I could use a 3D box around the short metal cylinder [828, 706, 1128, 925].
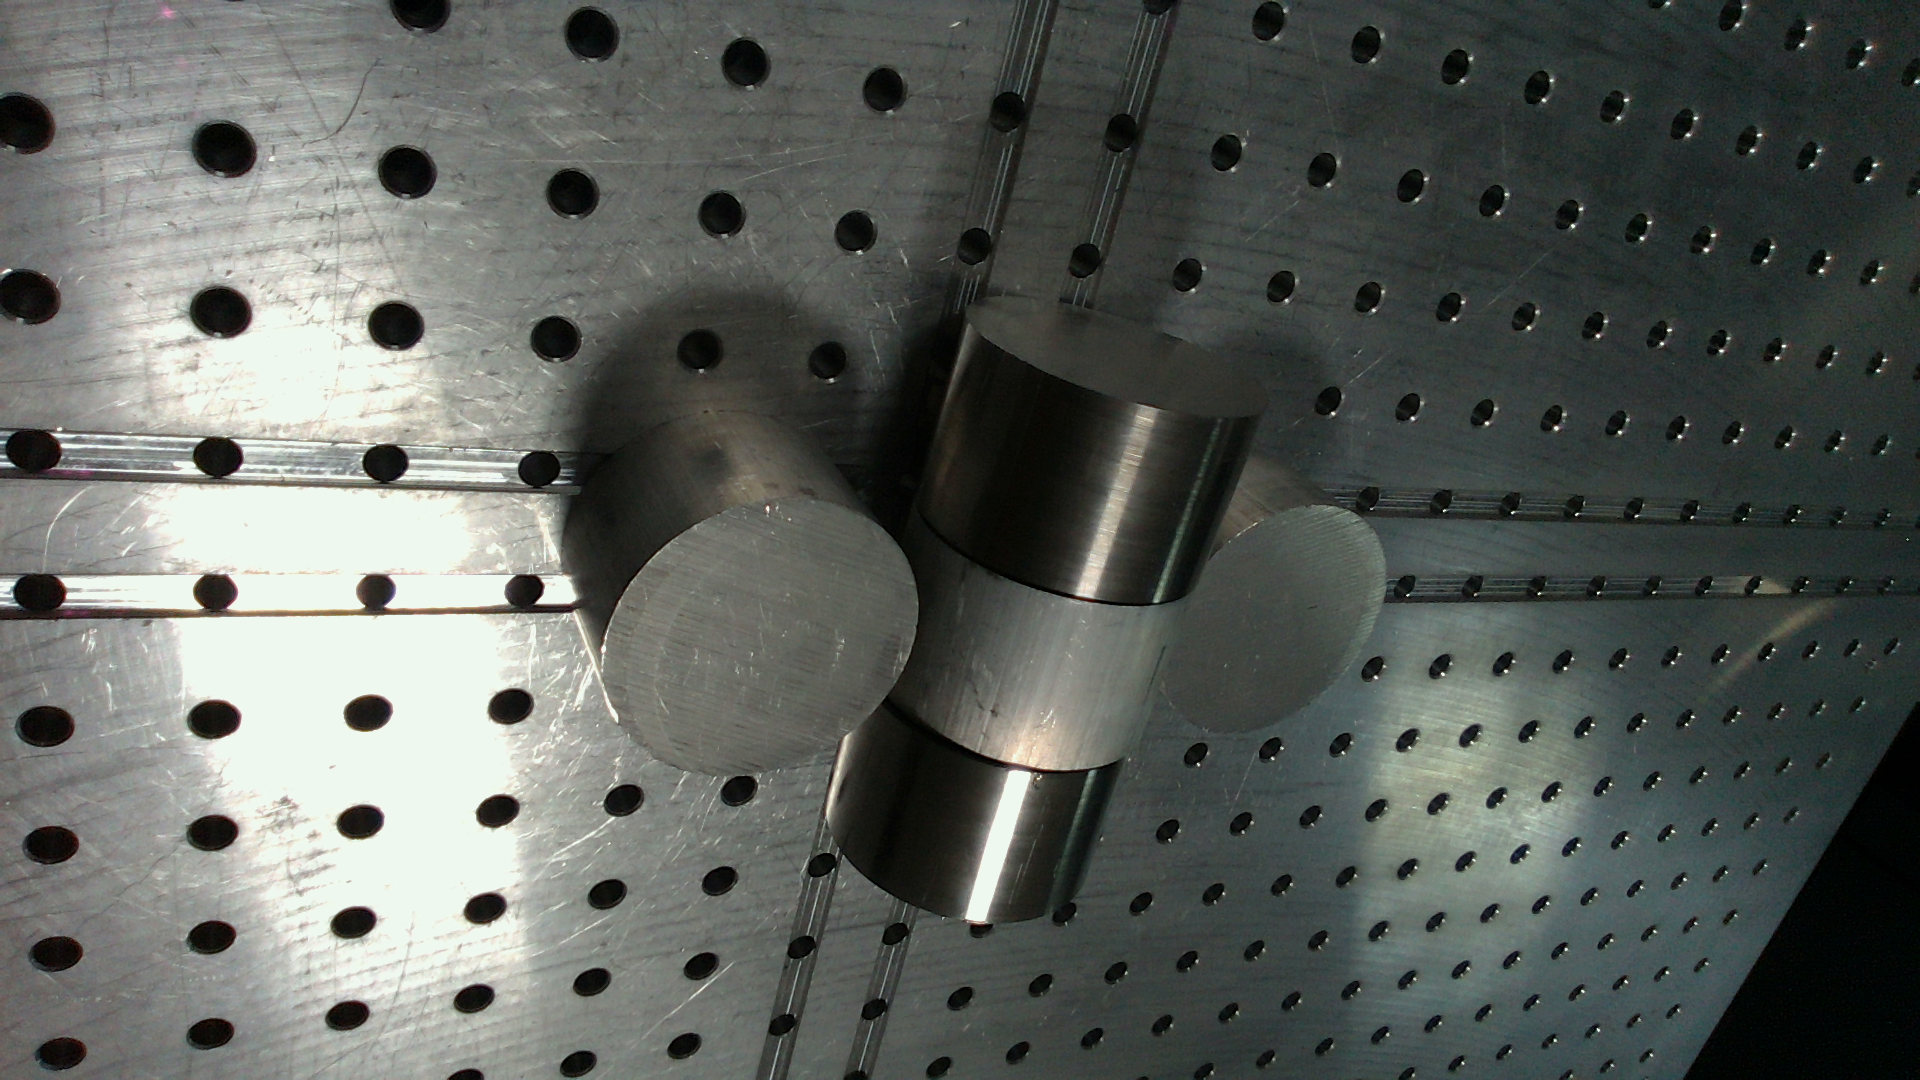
[{"bbox_3d":[0.006,0.065,0.399,0.080,0.080,0.050,1,118,-29],"label":"short metal cylinder"}]

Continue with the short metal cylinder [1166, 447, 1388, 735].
[{"bbox_3d":[0.085,0.013,0.429,0.080,0.050,0.080,-14,124,-21],"label":"short metal cylinder"}]

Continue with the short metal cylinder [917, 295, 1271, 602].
[{"bbox_3d":[0.034,-0.026,0.358,0.080,0.080,0.050,2,117,-29],"label":"short metal cylinder"}]

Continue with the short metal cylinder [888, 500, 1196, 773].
[{"bbox_3d":[0.020,0.019,0.379,0.080,0.080,0.050,2,118,-29],"label":"short metal cylinder"}]

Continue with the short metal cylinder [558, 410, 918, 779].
[{"bbox_3d":[-0.057,0.014,0.353,0.080,0.050,0.080,-14,124,-21],"label":"short metal cylinder"}]
